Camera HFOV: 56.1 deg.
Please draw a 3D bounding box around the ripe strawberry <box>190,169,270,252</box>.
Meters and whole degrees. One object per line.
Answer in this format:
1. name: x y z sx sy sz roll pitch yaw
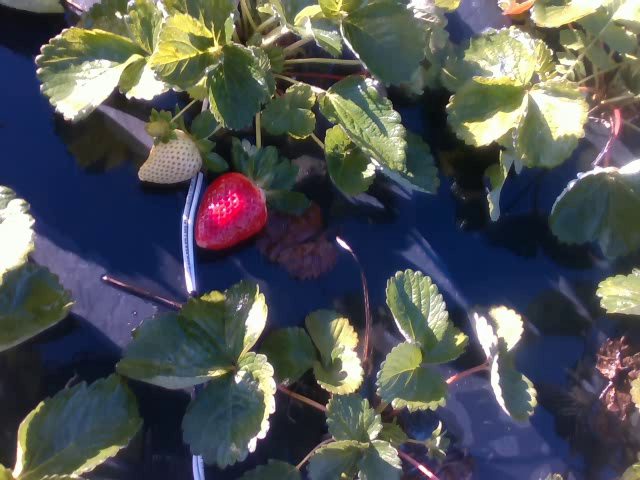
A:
1. ripe strawberry: -0.060 -0.019 0.430 0.040 0.063 0.080 -1 38 43
